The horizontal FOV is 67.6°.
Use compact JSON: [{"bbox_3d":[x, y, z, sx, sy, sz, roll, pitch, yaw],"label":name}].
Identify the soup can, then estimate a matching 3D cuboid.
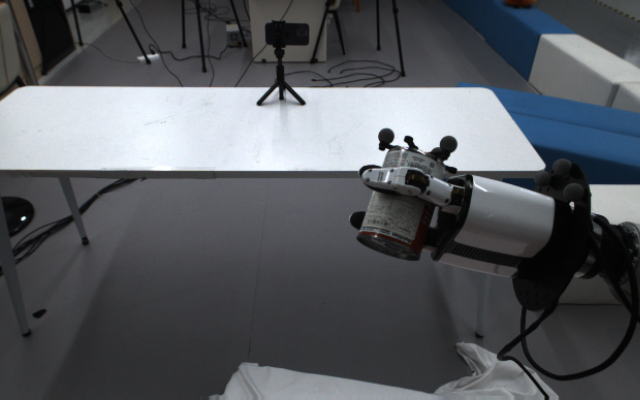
[{"bbox_3d":[0.086,0.002,0.509,0.067,0.067,0.101,16,75,19],"label":"soup can"}]
